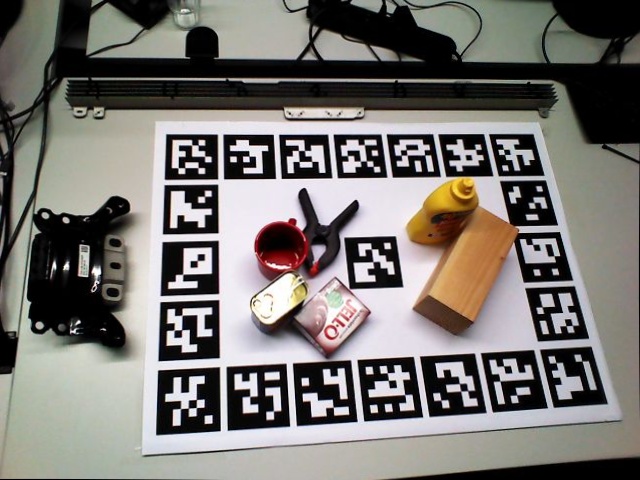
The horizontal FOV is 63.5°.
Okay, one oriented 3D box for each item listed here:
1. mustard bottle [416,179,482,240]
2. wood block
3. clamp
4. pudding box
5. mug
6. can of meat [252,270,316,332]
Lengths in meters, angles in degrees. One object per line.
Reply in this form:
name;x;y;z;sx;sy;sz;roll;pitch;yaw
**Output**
mustard bottle;0.239;-0.059;0.905;0.096;0.192;0.058;-6;70;-9
wood block;0.280;0.057;0.926;0.090;0.091;0.205;33;66;8
clamp;0.016;-0.022;0.953;0.122;0.037;0.164;17;70;-2
pudding box;0.033;0.132;0.889;0.113;0.039;0.090;-41;79;-21
mug;-0.062;0.014;0.924;0.093;0.082;0.116;20;69;0
can of meat;-0.062;0.104;0.858;0.101;0.084;0.058;-31;77;-17
